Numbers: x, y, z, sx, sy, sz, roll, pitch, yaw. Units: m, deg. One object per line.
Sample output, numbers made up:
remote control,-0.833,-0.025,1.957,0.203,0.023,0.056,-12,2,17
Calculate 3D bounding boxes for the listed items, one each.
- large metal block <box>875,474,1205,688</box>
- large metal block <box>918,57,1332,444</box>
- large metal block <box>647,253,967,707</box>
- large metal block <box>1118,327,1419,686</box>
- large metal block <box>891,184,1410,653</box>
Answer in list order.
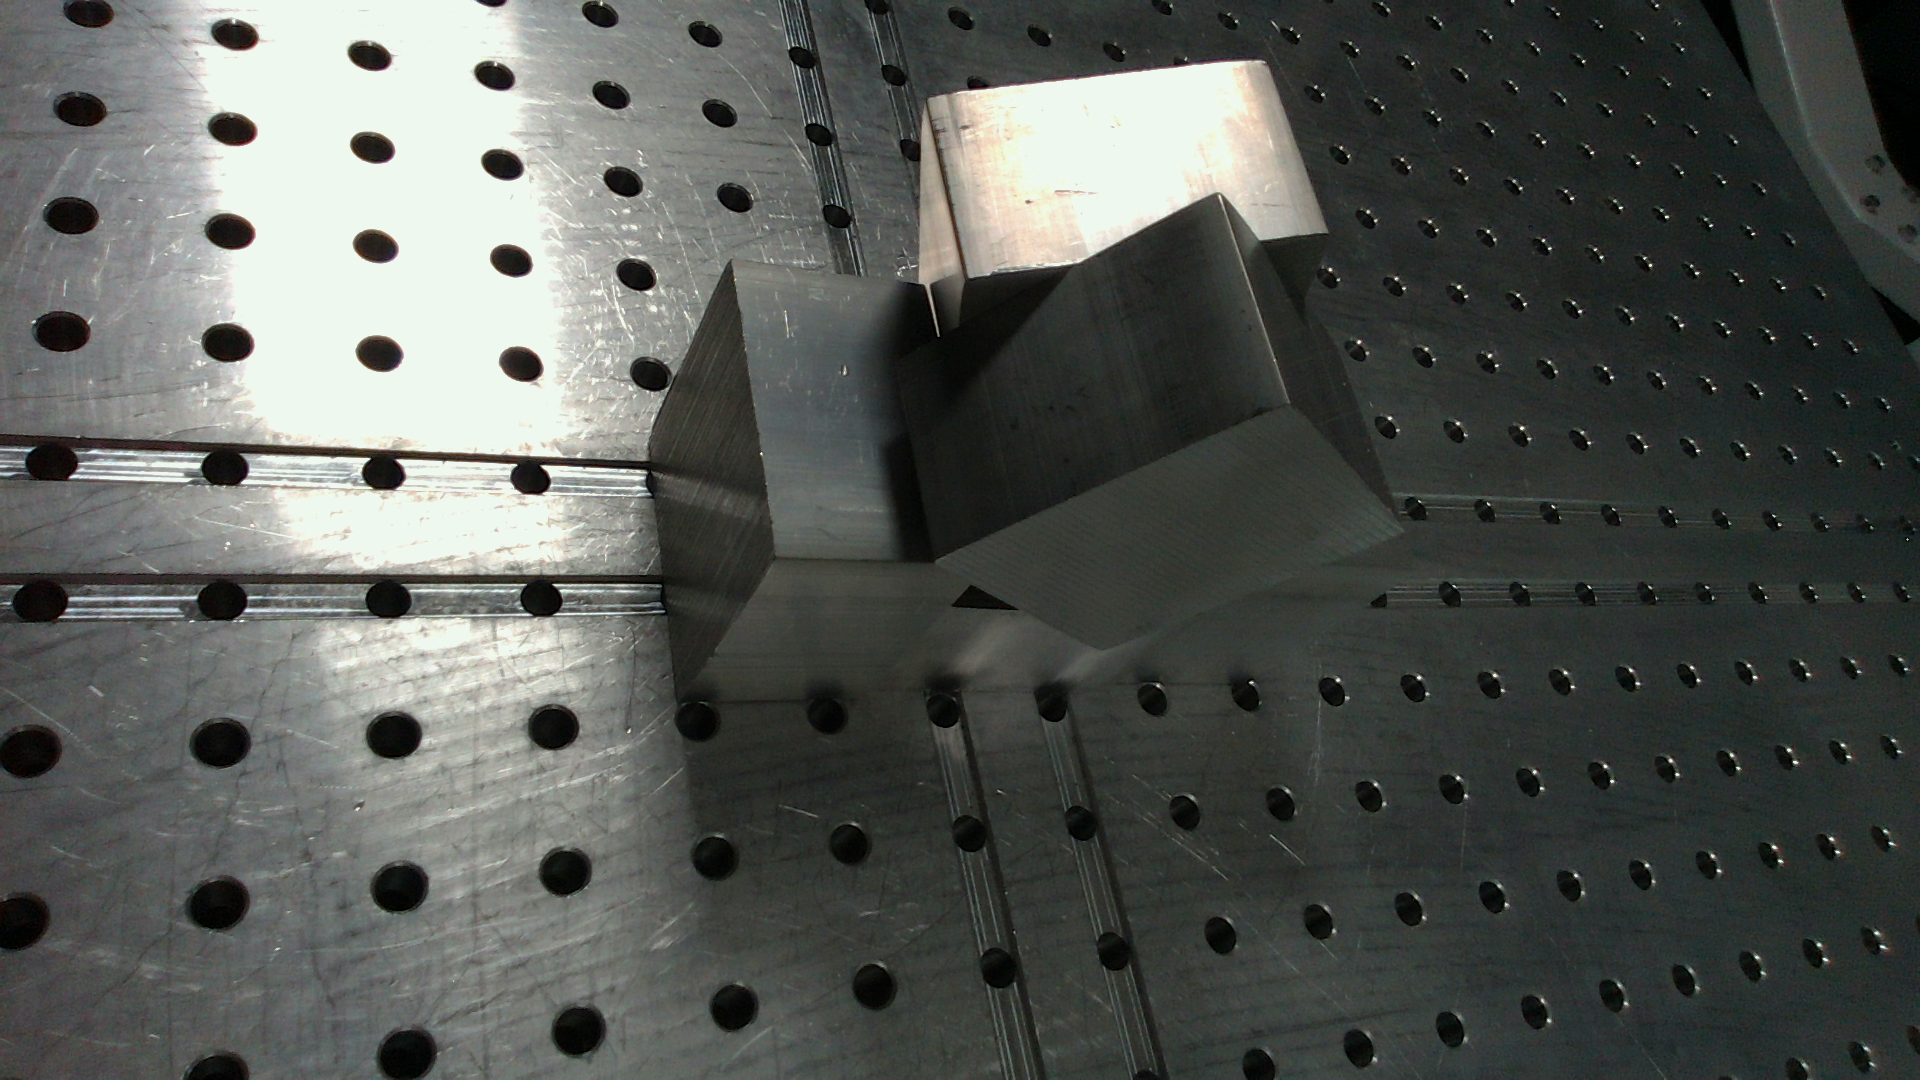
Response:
large metal block,0.013,-0.006,0.385,0.080,0.050,0.080,3,60,-27
large metal block,0.033,-0.064,0.332,0.080,0.080,0.050,-9,63,-7
large metal block,-0.040,-0.012,0.343,0.050,0.080,0.080,2,61,-27
large metal block,0.077,-0.010,0.404,0.050,0.080,0.080,4,60,-26
large metal block,0.044,-0.021,0.308,0.080,0.080,0.050,30,42,-53
